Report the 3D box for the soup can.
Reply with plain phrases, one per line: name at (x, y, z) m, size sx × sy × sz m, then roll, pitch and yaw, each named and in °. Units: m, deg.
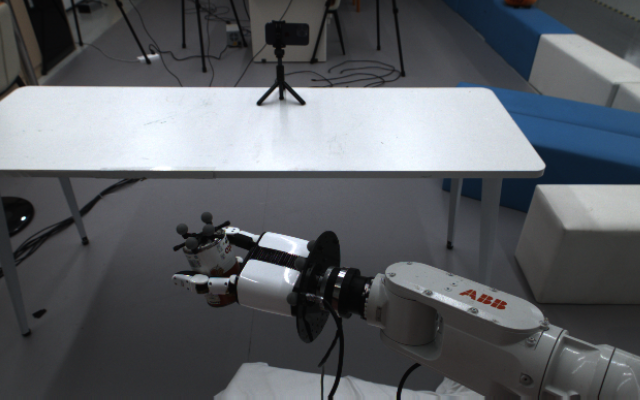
soup can at (-0.156, 0.104, 0.731) m, size 0.067 × 0.101 × 0.067 m, roll -16°, pitch 23°, yaw 7°
